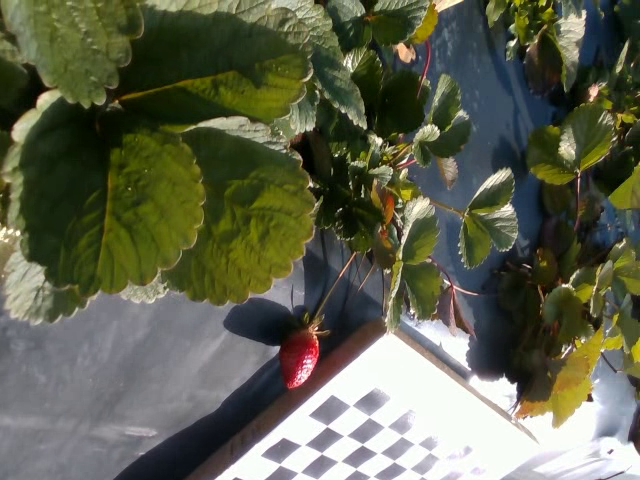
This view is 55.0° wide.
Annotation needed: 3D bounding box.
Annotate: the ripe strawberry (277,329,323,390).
[{"bbox_3d":[-0.014,0.070,0.354,0.033,0.038,0.034,-12,-36,39],"label":"ripe strawberry"}]
